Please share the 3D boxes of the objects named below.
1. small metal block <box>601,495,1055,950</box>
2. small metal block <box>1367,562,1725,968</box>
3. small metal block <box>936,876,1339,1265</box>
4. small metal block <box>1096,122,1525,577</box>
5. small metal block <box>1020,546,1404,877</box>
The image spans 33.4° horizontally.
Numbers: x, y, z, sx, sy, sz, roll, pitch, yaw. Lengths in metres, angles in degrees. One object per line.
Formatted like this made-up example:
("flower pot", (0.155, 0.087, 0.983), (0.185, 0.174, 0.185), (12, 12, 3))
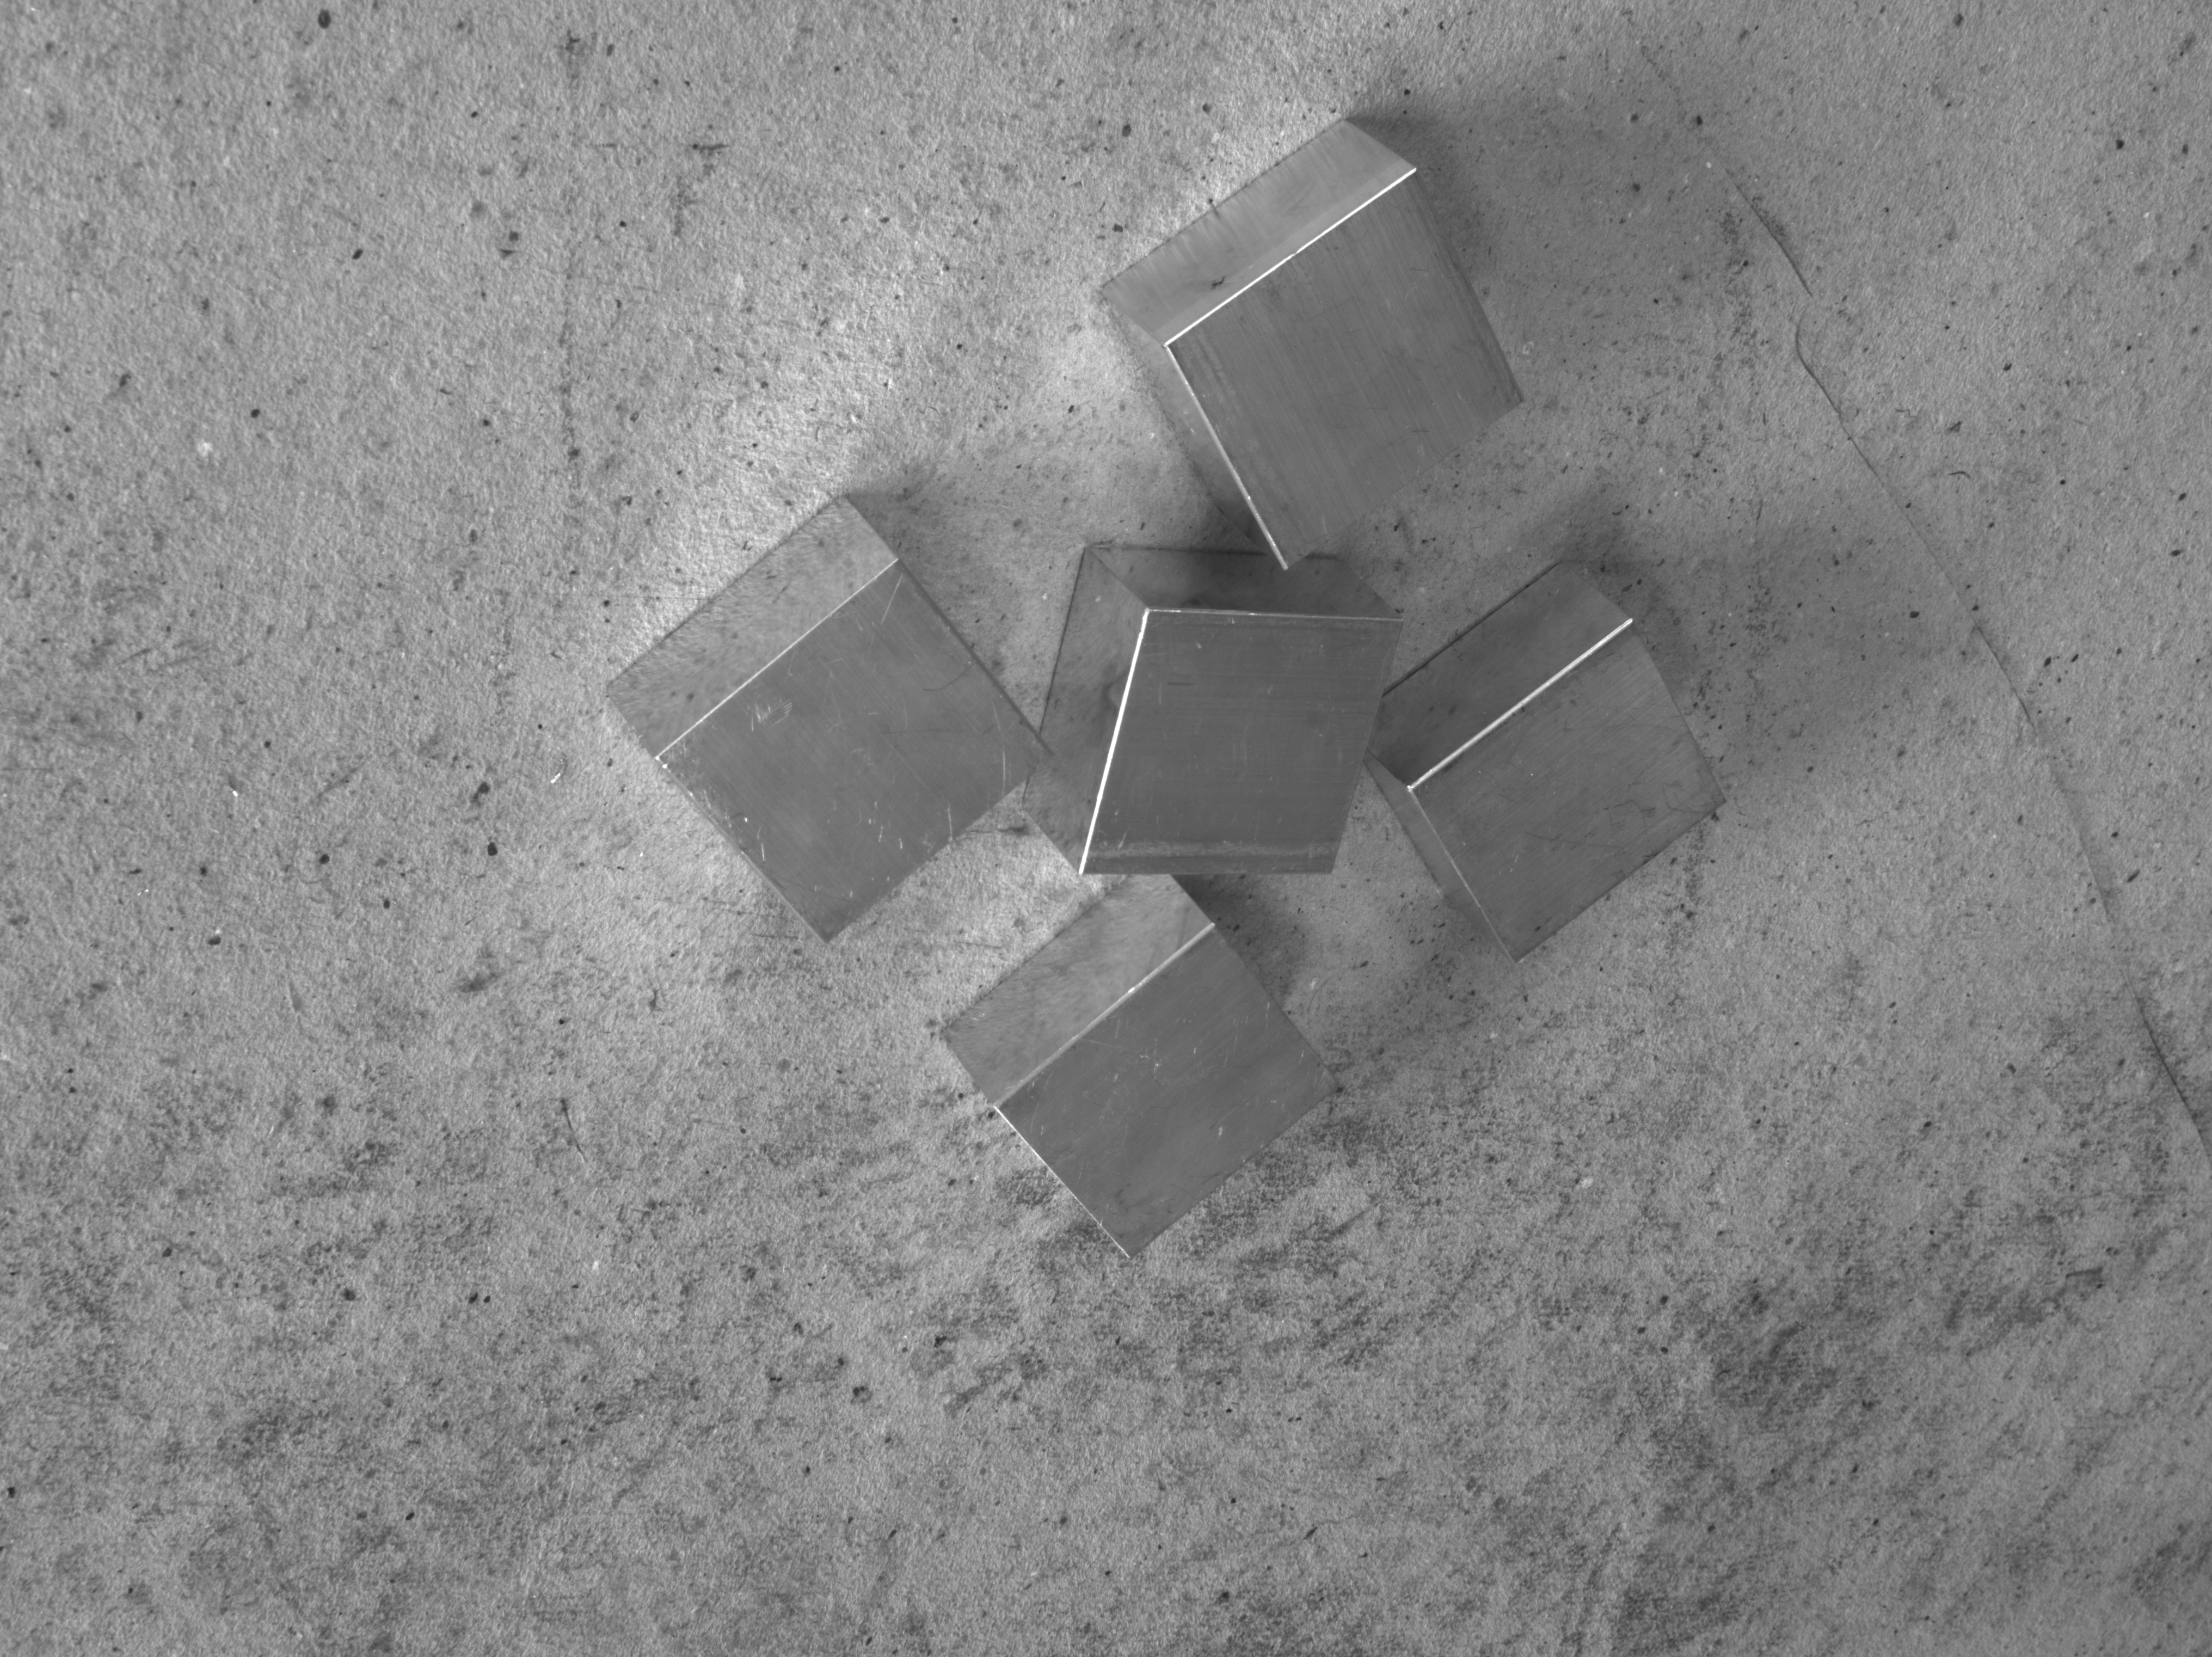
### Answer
("small metal block", (-0.045, -0.017, 0.603), (0.050, 0.025, 0.050), (-41, 129, -2))
("small metal block", (0.078, -0.011, 0.673), (0.050, 0.025, 0.050), (-37, 129, -3))
("small metal block", (0.006, 0.043, 0.667), (0.050, 0.025, 0.050), (-40, 129, -2))
("small metal block", (0.034, -0.079, 0.607), (0.050, 0.025, 0.050), (-36, 128, -5))
("small metal block", (0.018, -0.020, 0.635), (0.050, 0.025, 0.050), (1, 118, -28))
